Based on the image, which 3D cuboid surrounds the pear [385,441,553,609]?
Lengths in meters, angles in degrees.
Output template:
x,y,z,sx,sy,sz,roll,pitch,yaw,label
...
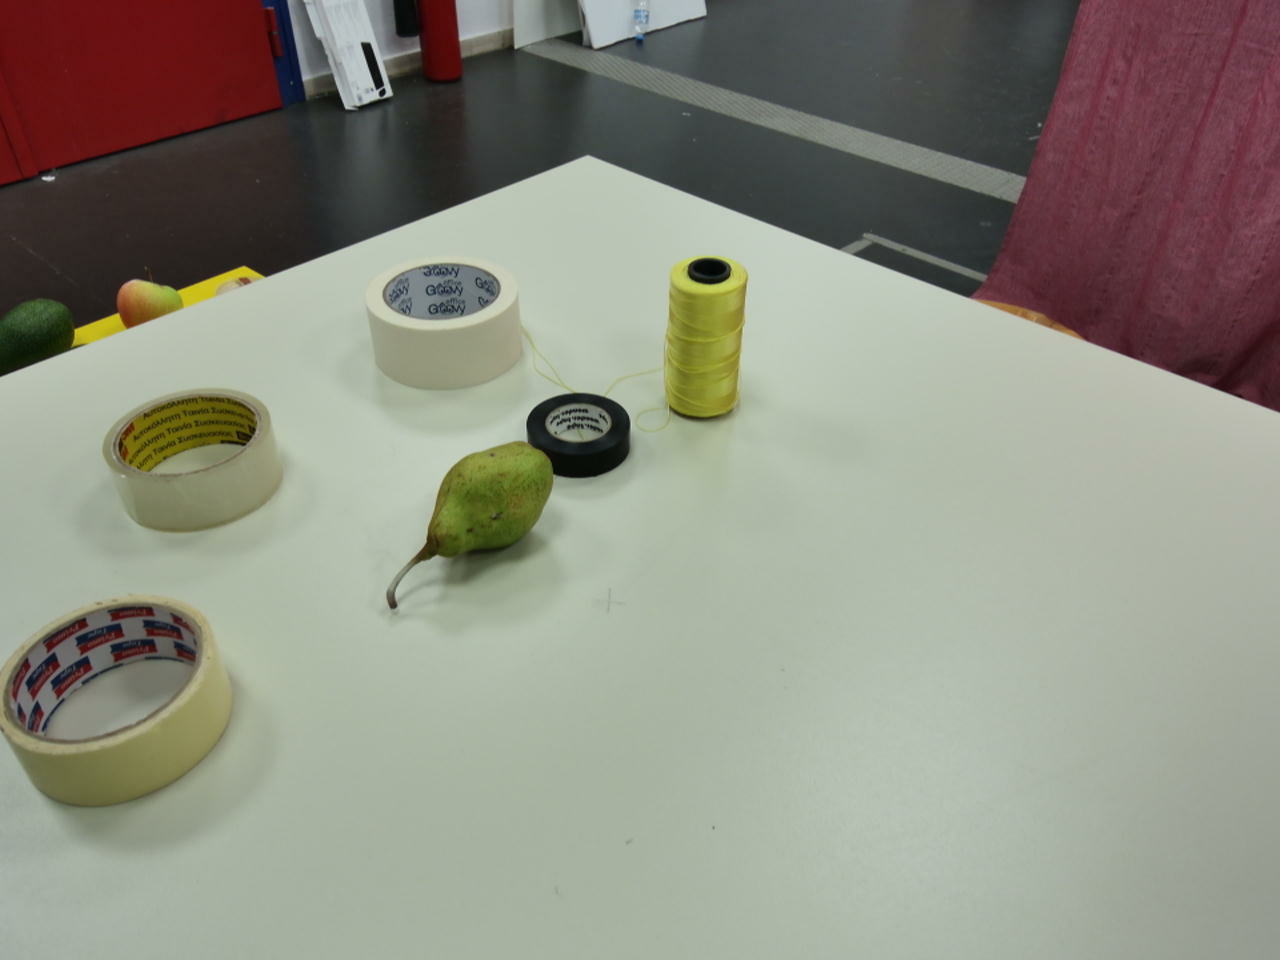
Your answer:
x,y,z,sx,sy,sz,roll,pitch,yaw,label
-0.099,0.016,0.548,0.111,0.056,0.056,-21,43,-26,pear
